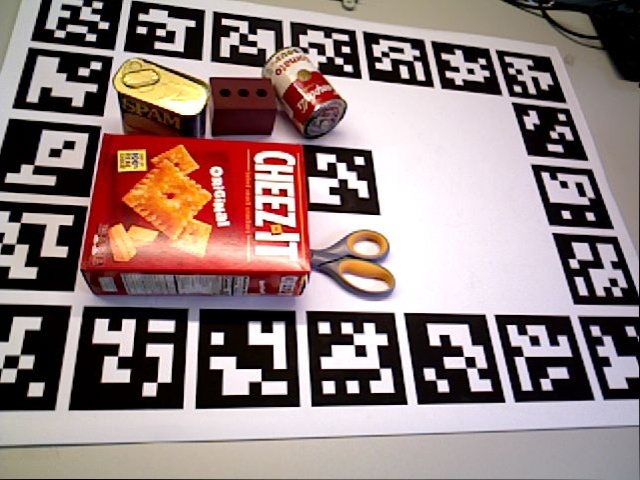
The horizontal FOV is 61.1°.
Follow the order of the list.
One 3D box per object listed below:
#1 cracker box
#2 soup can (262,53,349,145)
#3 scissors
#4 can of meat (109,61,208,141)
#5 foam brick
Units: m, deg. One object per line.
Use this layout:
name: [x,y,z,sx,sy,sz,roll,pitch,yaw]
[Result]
cracker box: [-0.120,-0.021,0.561,0.211,0.073,0.162,-4,64,-11]
soup can: [-0.020,-0.181,0.695,0.066,0.069,0.102,-35,71,-27]
scissors: [-0.013,0.030,0.597,0.200,0.016,0.087,-2,65,-14]
can of meat: [-0.182,-0.144,0.616,0.101,0.085,0.057,15,61,-6]
foam brick: [-0.097,-0.160,0.667,0.077,0.052,0.052,-7,66,-17]
